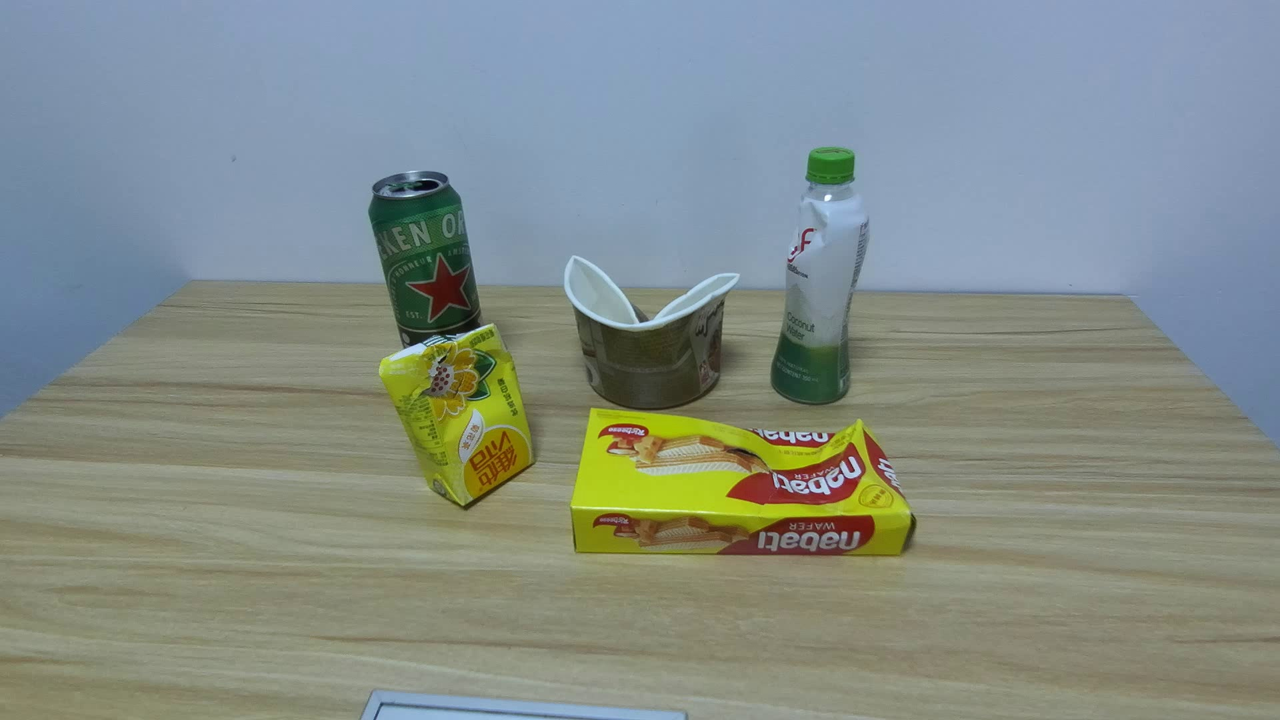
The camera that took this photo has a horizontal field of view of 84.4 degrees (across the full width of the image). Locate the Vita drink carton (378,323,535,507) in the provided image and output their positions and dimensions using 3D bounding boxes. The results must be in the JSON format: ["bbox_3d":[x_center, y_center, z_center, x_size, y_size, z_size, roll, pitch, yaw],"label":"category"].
[{"bbox_3d":[-0.121,0.033,0.476,0.042,0.108,0.087,12,31,44],"label":"Vita drink carton"}]

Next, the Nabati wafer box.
[{"bbox_3d":[0.064,0.074,0.457,0.204,0.042,0.107,2,35,3],"label":"Nabati wafer box"}]

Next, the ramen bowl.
[{"bbox_3d":[0.003,-0.025,0.562,0.137,0.098,0.137,-3,32,2],"label":"ramen bowl"}]

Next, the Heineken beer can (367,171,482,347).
[{"bbox_3d":[-0.163,-0.057,0.557,0.067,0.169,0.067,-1,33,1],"label":"Heineken beer can"}]

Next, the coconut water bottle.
[{"bbox_3d":[0.133,-0.060,0.522,0.069,0.186,0.069,-2,30,1],"label":"coconut water bottle"}]
